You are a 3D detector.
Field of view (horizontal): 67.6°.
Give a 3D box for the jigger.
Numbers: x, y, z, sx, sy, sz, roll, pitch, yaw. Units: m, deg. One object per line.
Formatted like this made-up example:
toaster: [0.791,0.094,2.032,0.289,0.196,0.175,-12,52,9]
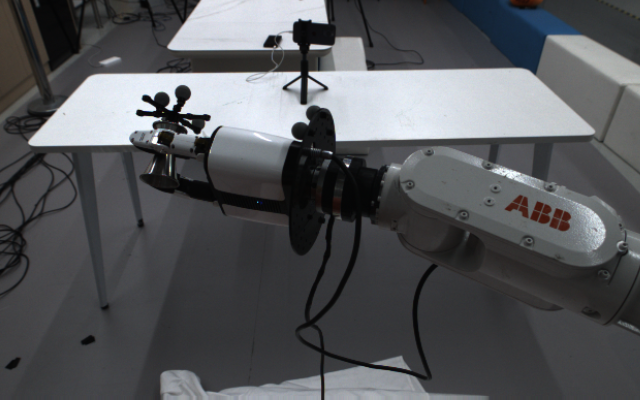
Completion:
jigger: [-0.180,-0.052,0.562,0.043,0.043,0.071,5,71,4]
